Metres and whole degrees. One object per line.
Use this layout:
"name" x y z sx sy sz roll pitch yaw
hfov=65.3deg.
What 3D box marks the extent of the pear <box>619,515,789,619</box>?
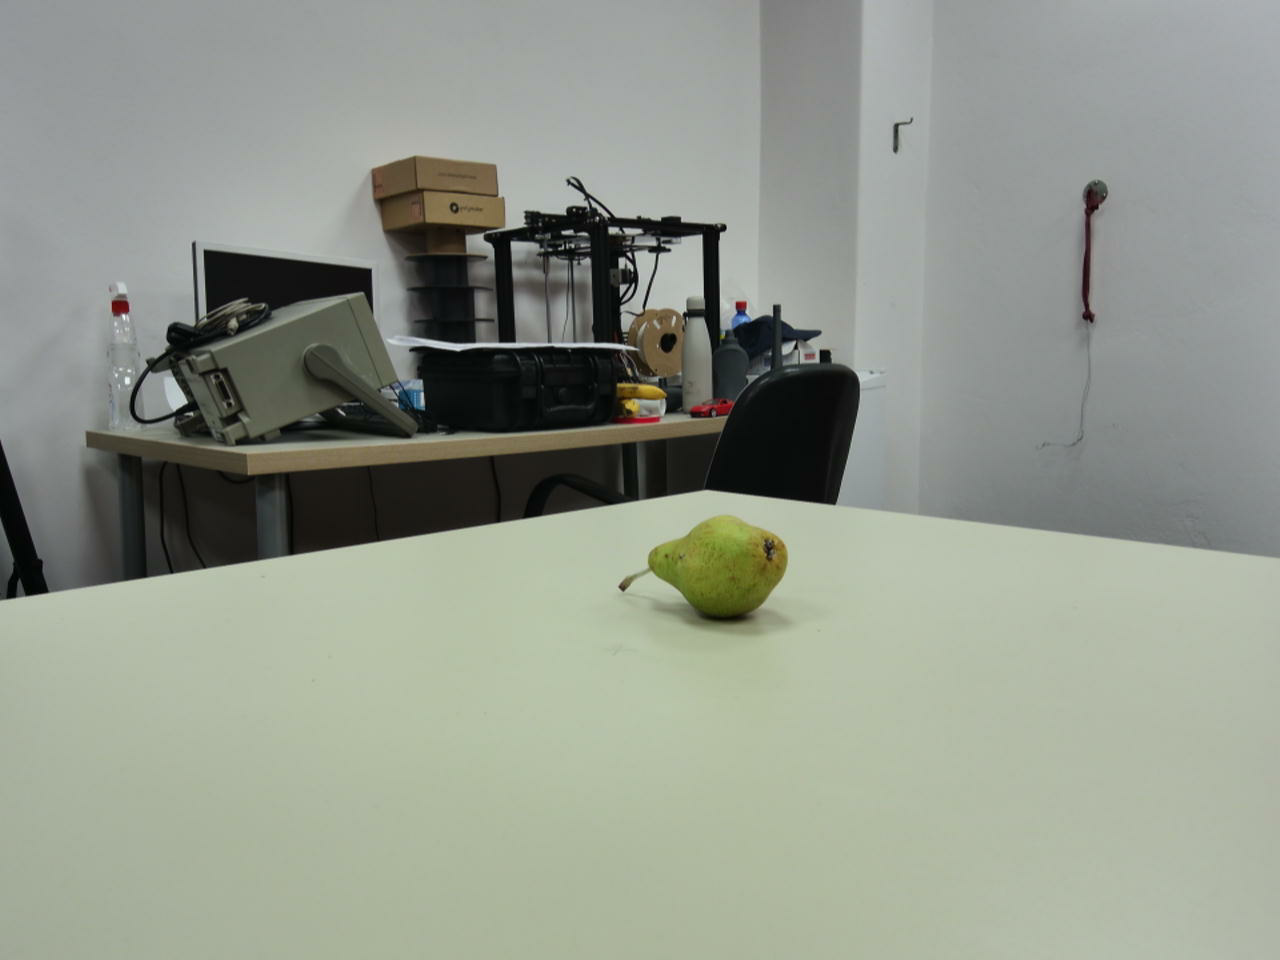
"pear" 0.037 0.047 0.575 0.056 0.056 0.111 -2 6 -27
